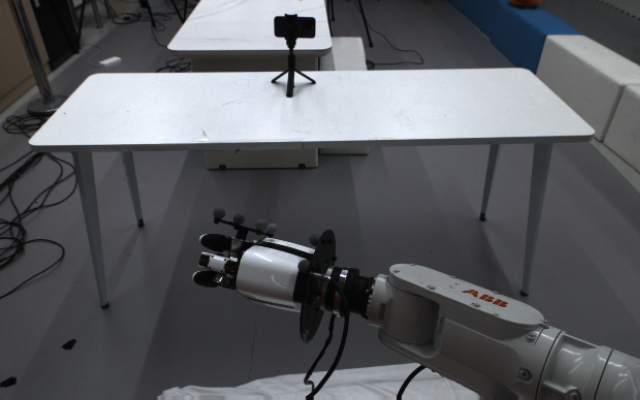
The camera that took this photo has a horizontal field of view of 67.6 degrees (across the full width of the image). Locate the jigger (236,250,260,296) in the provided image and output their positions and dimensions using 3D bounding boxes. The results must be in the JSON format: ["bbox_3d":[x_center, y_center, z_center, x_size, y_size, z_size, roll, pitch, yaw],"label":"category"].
[{"bbox_3d":[-0.122,0.090,0.705,0.043,0.071,0.043,15,-7,2],"label":"jigger"}]
